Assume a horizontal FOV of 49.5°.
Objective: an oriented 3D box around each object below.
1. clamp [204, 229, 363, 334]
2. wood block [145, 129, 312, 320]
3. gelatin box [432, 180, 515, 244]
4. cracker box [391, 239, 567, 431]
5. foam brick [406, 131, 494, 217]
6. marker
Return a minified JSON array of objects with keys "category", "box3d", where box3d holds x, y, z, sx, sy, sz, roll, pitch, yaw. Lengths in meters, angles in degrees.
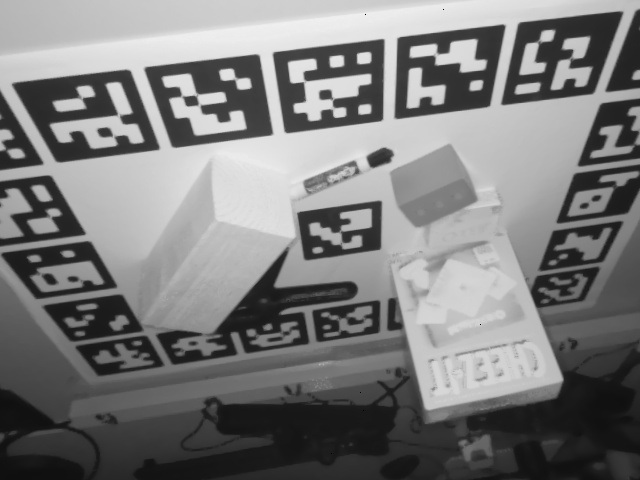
[{"category":"clamp","box3d":[-0.067,0.067,0.882,0.201,0.037,0.166,-28,136,18]},{"category":"wood block","box3d":[-0.105,-0.009,0.751,0.091,0.091,0.203,18,134,-32]},{"category":"gelatin box","box3d":[0.183,-0.033,0.834,0.090,0.030,0.072,-7,138,-4]},{"category":"cracker box","box3d":[0.183,0.108,0.843,0.164,0.215,0.071,-7,140,-1]},{"category":"foam brick","box3d":[0.143,-0.071,0.760,0.077,0.051,0.053,-23,136,13]},{"category":"marker","box3d":[0.051,-0.092,0.738,0.120,0.020,0.019,-19,137,9]}]
